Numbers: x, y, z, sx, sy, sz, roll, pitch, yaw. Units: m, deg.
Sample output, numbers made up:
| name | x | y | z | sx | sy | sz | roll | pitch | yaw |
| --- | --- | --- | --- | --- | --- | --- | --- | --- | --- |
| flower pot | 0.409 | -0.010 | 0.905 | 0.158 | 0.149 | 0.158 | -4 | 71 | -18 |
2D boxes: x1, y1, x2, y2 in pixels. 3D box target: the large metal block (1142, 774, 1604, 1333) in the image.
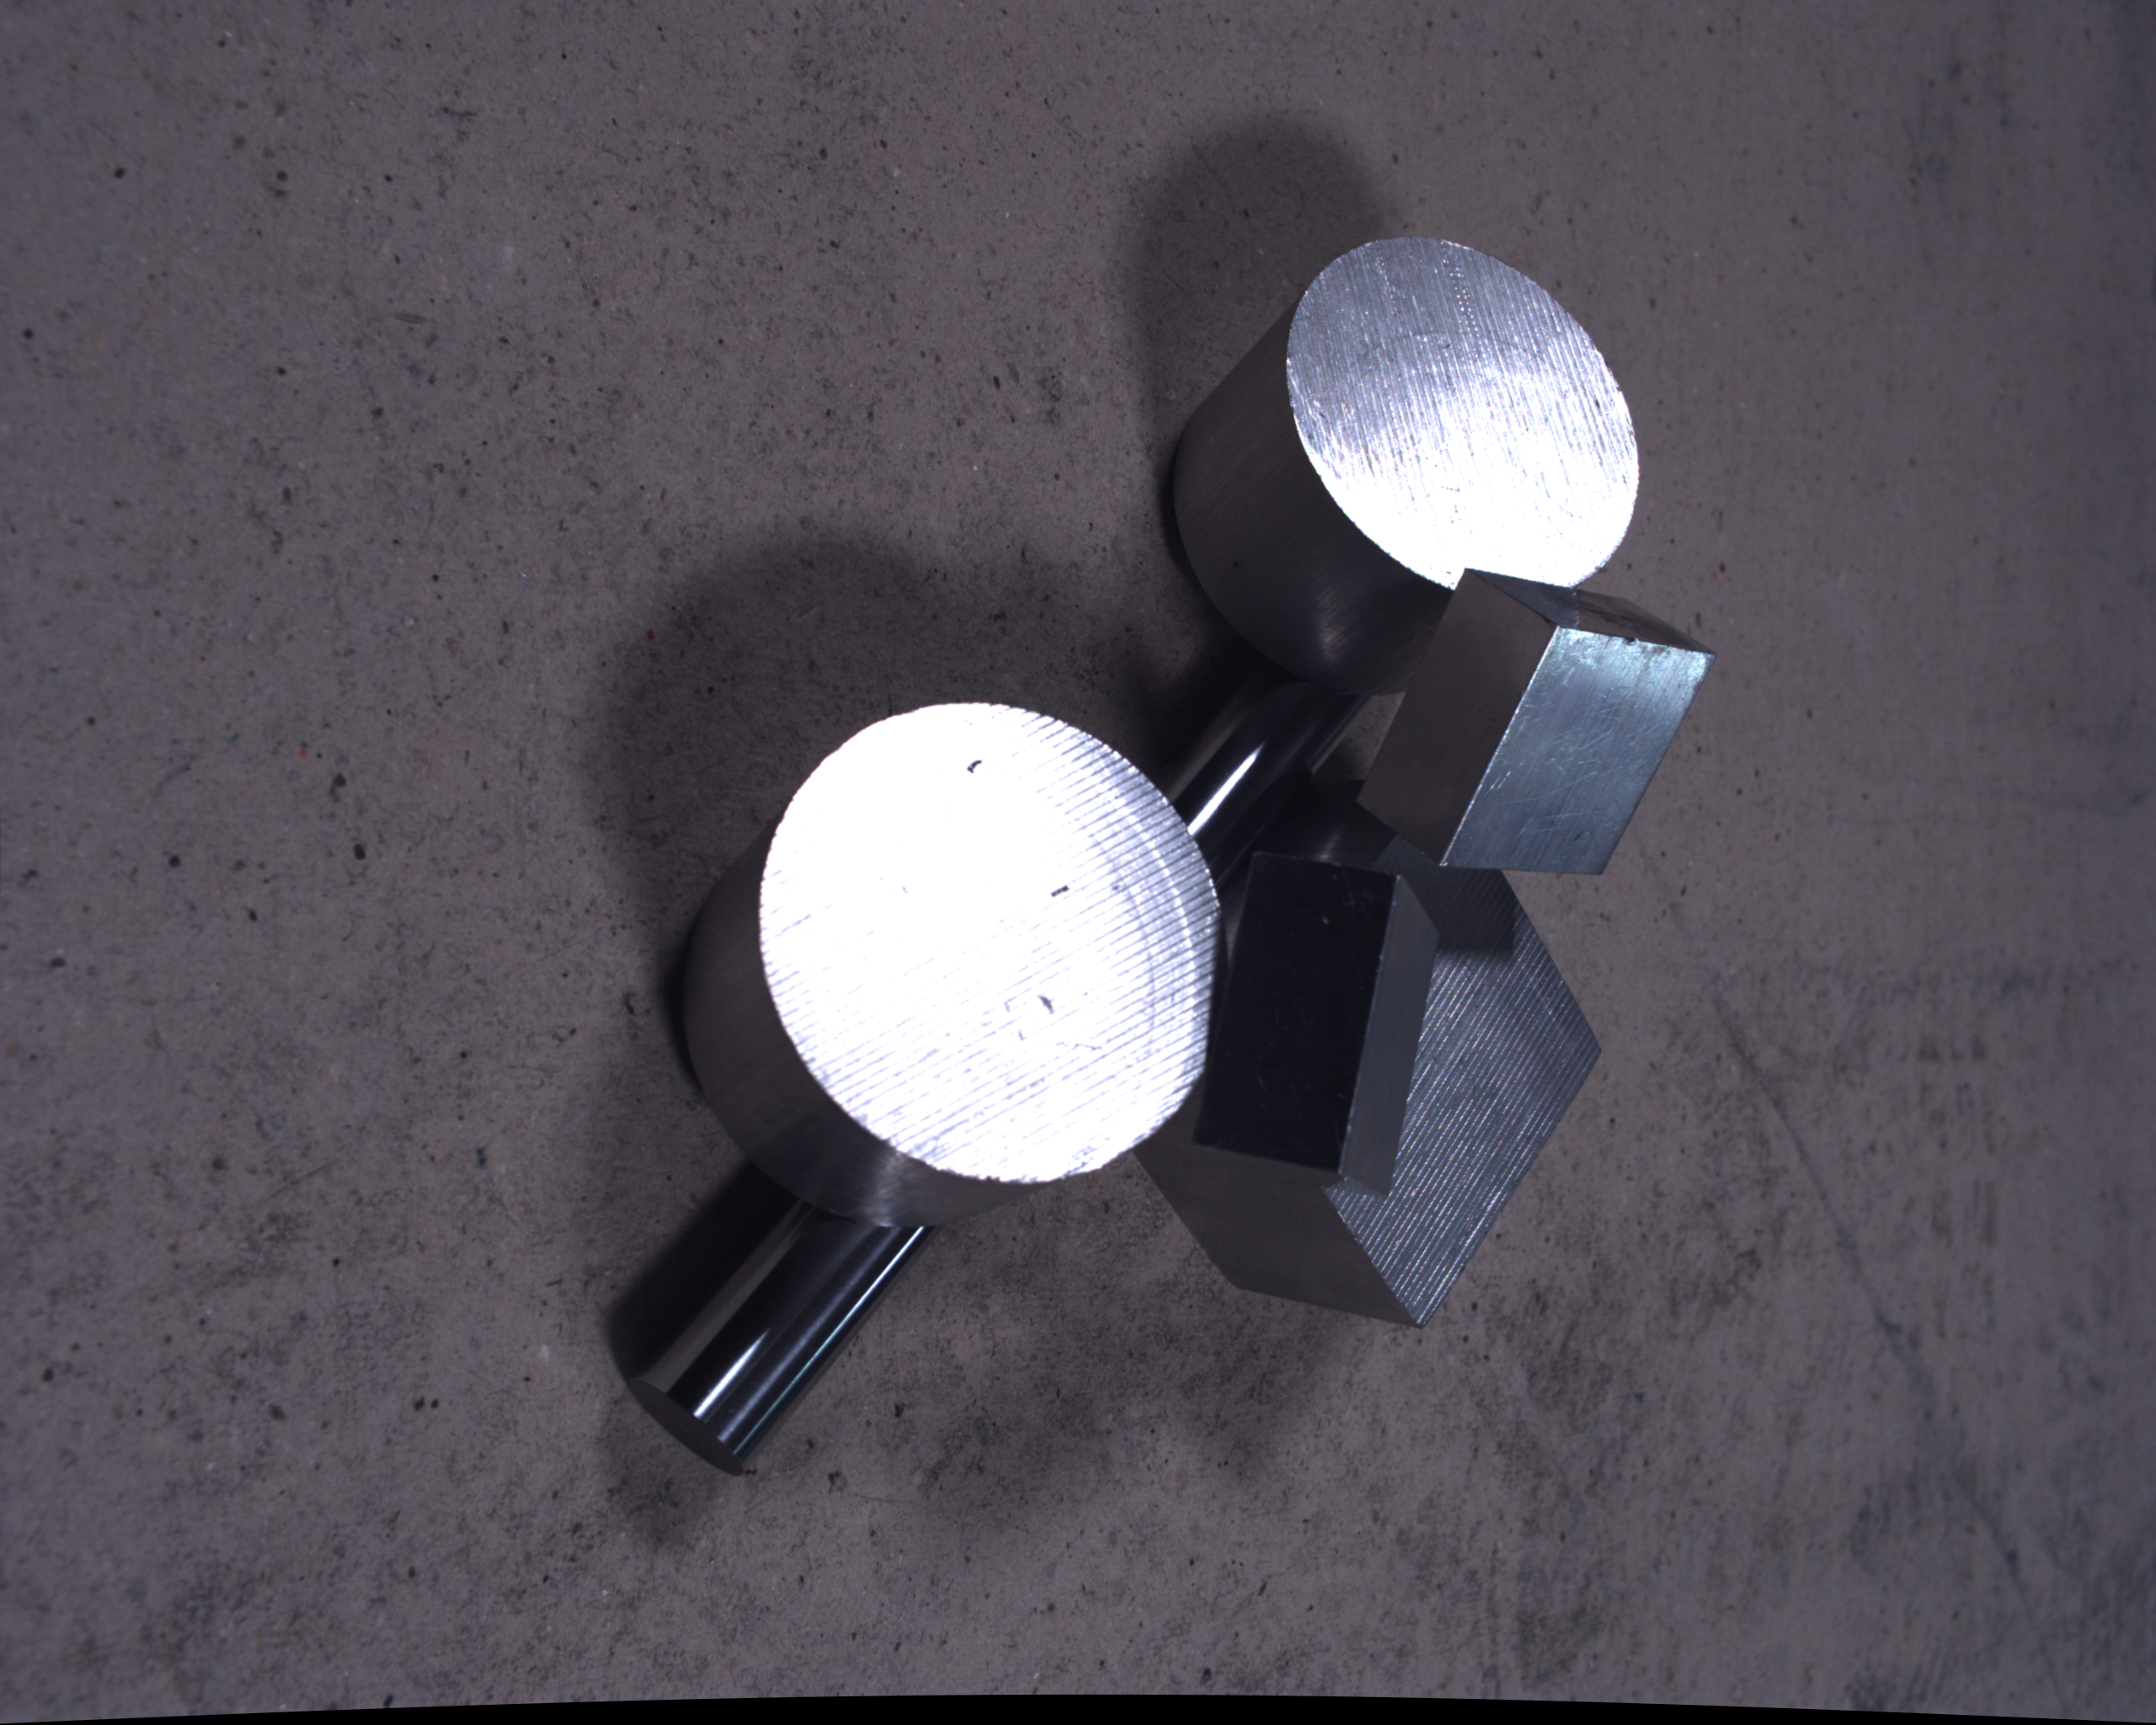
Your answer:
| name | x | y | z | sx | sy | sz | roll | pitch | yaw |
| --- | --- | --- | --- | --- | --- | --- | --- | --- | --- |
| large metal block | 0.055 | 0.037 | 0.436 | 0.080 | 0.050 | 0.080 | -49 | 119 | -29 |

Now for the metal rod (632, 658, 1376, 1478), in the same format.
| name | x | y | z | sx | sy | sz | roll | pitch | yaw |
| --- | --- | --- | --- | --- | --- | --- | --- | --- | --- |
| metal rod | 0.021 | -0.003 | 0.425 | 0.301 | 0.025 | 0.025 | -49 | 119 | -29 |

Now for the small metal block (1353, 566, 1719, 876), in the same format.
| name | x | y | z | sx | sy | sz | roll | pitch | yaw |
| --- | --- | --- | --- | --- | --- | --- | --- | --- | --- |
| small metal block | 0.088 | -0.026 | 0.401 | 0.050 | 0.025 | 0.050 | 3 | 119 | -40 |

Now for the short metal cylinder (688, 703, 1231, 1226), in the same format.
| name | x | y | z | sx | sy | sz | roll | pitch | yaw |
| --- | --- | --- | --- | --- | --- | --- | --- | --- | --- |
| short metal cylinder | -0.021 | 0.019 | 0.356 | 0.081 | 0.050 | 0.080 | 8 | 69 | -21 |

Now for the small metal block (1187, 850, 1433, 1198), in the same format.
| name | x | y | z | sx | sy | sz | roll | pitch | yaw |
| --- | --- | --- | --- | --- | --- | --- | --- | --- | --- |
| small metal block | 0.042 | 0.029 | 0.363 | 0.050 | 0.025 | 0.050 | 40 | 62 | -69 |

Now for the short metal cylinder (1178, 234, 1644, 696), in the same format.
| name | x | y | z | sx | sy | sz | roll | pitch | yaw |
| --- | --- | --- | --- | --- | --- | --- | --- | --- | --- |
| short metal cylinder | 0.068 | -0.081 | 0.430 | 0.081 | 0.050 | 0.080 | 8 | 69 | -21 |
